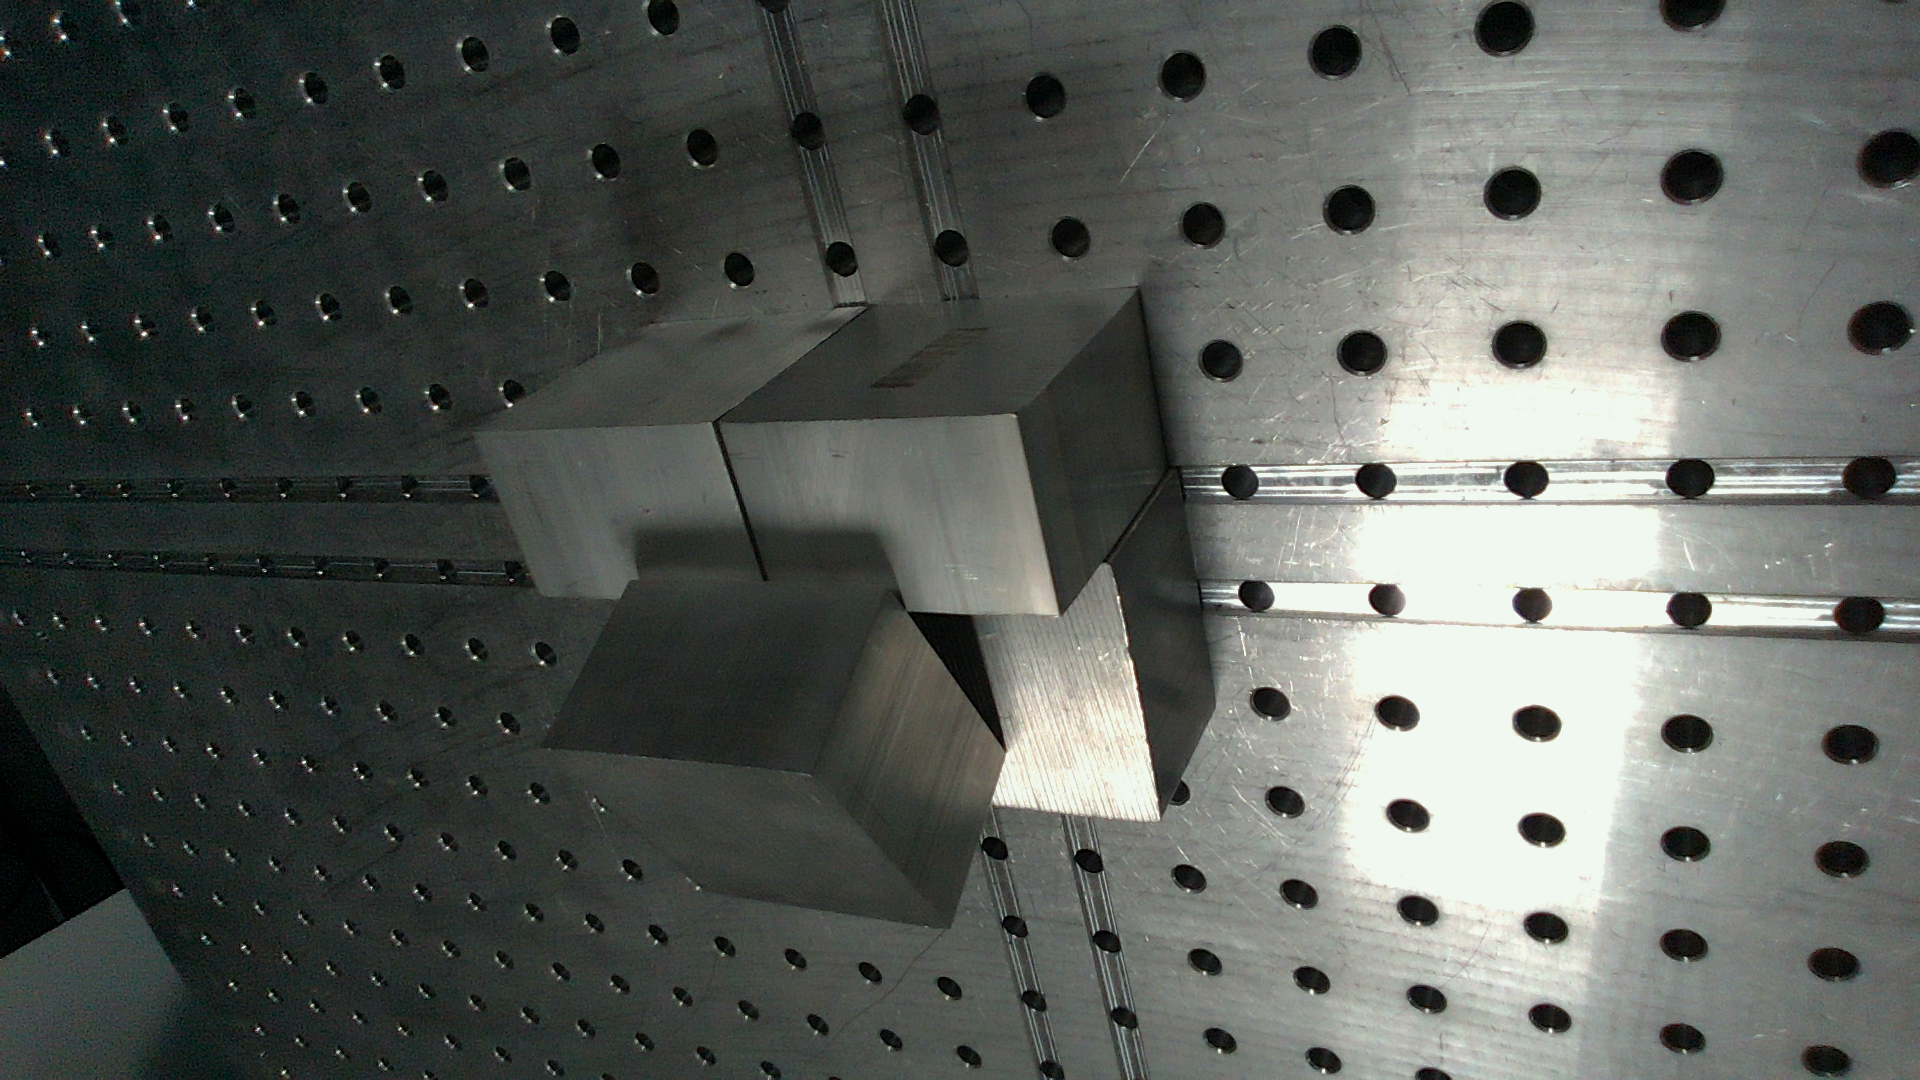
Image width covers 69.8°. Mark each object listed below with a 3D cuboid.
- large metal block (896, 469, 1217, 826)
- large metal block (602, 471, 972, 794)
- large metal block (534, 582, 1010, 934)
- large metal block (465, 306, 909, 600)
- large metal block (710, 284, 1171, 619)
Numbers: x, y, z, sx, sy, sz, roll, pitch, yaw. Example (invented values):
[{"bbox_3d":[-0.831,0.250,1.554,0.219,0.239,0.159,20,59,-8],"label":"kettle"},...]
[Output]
[{"bbox_3d":[0.020,0.028,0.383,0.080,0.050,0.080,1,119,28],"label":"large metal block"},{"bbox_3d":[-0.051,0.026,0.421,0.080,0.050,0.080,1,119,28],"label":"large metal block"},{"bbox_3d":[-0.044,0.055,0.351,0.080,0.050,0.080,0,142,28],"label":"large metal block"},{"bbox_3d":[-0.072,-0.025,0.382,0.080,0.080,0.050,1,119,28],"label":"large metal block"},{"bbox_3d":[-0.001,-0.024,0.345,0.080,0.080,0.050,1,119,28],"label":"large metal block"}]
